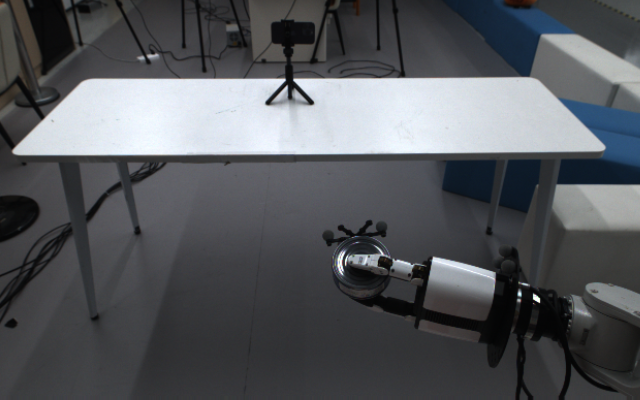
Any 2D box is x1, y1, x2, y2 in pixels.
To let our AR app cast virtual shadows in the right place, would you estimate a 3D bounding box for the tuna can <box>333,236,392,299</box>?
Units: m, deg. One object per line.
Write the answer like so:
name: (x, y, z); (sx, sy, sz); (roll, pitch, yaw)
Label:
tuna can: (0.063, 0.101, 0.682); (0.085, 0.034, 0.085); (-3, 60, 5)
